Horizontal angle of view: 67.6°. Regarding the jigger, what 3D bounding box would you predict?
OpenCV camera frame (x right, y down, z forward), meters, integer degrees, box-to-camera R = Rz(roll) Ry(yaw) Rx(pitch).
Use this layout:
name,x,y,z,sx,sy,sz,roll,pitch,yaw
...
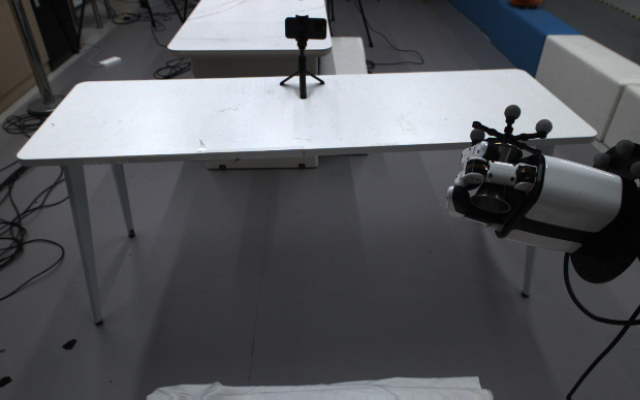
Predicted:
name,x,y,z,sx,sy,sz,roll,pitch,yaw
jigger,0.200,-0.027,0.543,0.043,0.043,0.071,15,70,18
